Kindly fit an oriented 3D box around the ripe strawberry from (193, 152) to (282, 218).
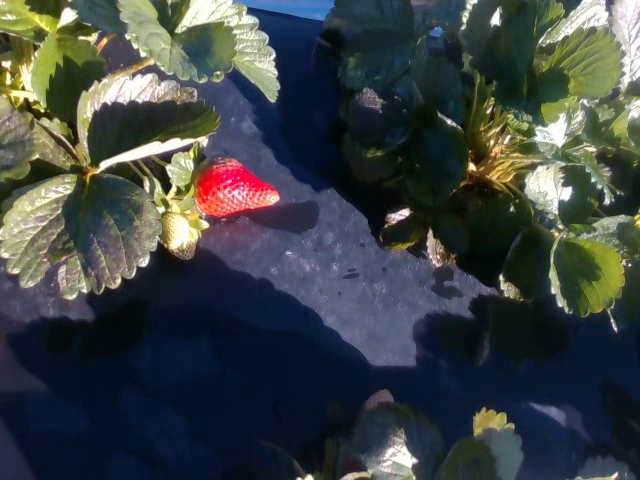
[{"bbox_3d":[-0.055,-0.033,0.390,0.064,0.050,0.052,10,10,-5],"label":"ripe strawberry"}]
